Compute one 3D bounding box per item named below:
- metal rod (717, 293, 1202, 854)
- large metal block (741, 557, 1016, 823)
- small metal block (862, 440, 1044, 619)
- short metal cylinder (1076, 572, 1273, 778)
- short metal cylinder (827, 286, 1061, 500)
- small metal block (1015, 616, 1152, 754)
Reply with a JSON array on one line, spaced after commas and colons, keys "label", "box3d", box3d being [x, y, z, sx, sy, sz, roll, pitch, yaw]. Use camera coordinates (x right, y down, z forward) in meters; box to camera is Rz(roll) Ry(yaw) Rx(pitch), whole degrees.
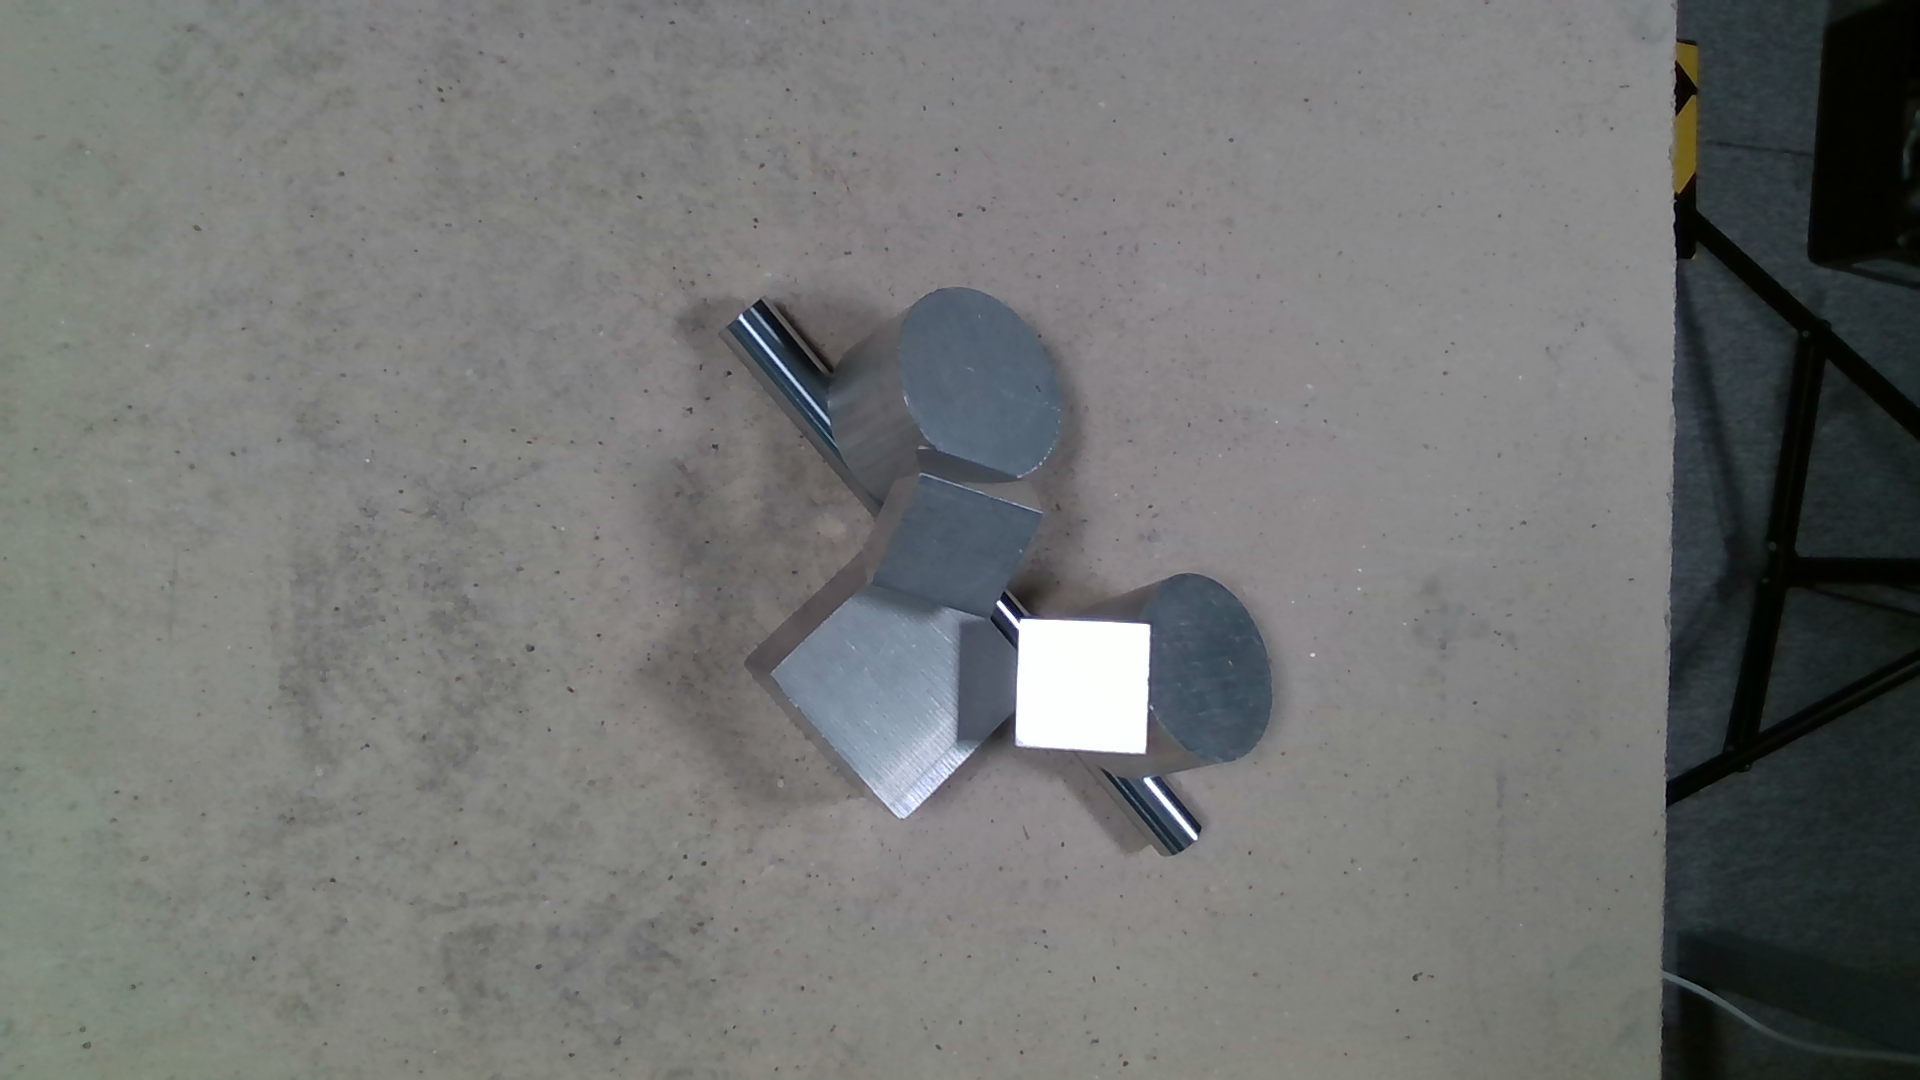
[{"label": "metal rod", "box3d": [0.006, 0.021, 0.588, 0.025, 0.025, 0.300, -43, 104, -15]}, {"label": "large metal block", "box3d": [-0.028, 0.054, 0.561, 0.080, 0.050, 0.080, -43, 104, -15]}, {"label": "small metal block", "box3d": [-0.003, -0.003, 0.519, 0.050, 0.025, 0.050, 17, 116, -19]}, {"label": "short metal cylinder", "box3d": [0.088, 0.059, 0.590, 0.080, 0.050, 0.080, 14, 66, -34]}, {"label": "short metal cylinder", "box3d": [-0.006, -0.055, 0.555, 0.080, 0.050, 0.080, 14, 66, -35]}, {"label": "small metal block", "box3d": [0.049, 0.056, 0.538, 0.050, 0.025, 0.050, 2, 89, 10]}]
